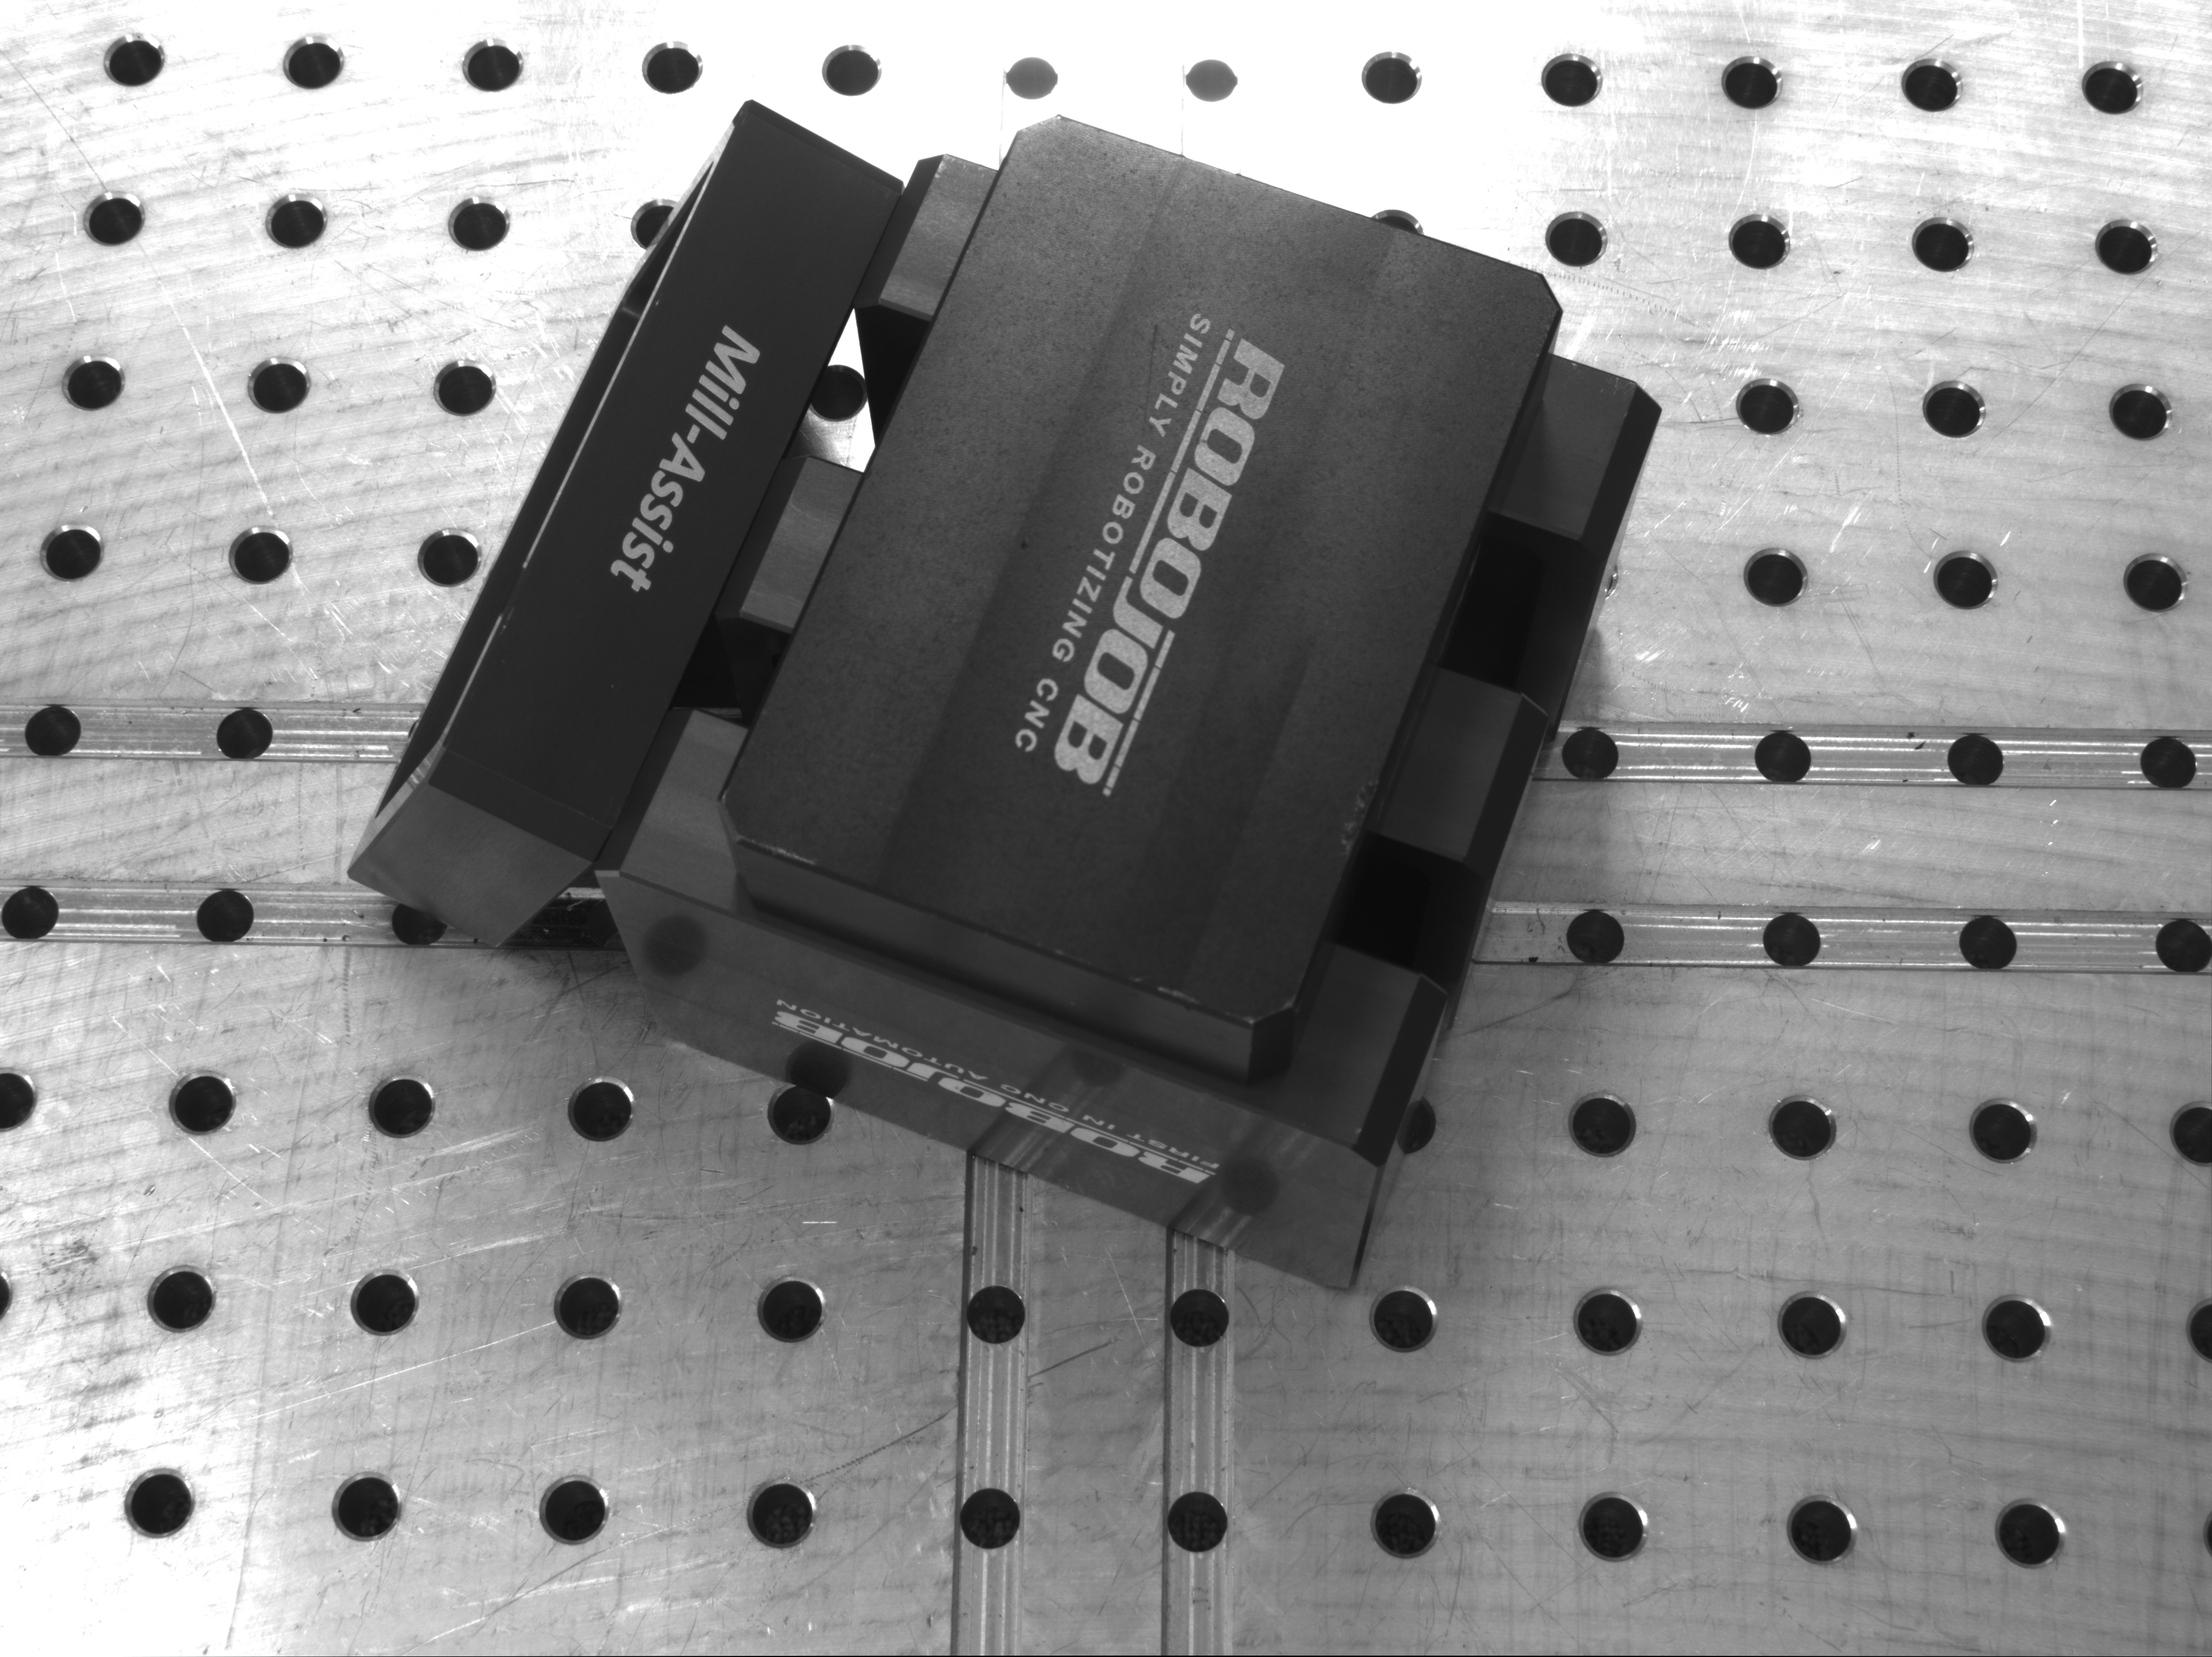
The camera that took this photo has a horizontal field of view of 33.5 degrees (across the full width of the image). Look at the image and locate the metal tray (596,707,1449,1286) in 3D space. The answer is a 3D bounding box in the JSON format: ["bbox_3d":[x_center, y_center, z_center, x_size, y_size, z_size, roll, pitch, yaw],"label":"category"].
[{"bbox_3d":[-0.013,0.030,0.602,0.130,0.090,0.030,20,71,7],"label":"metal tray"}]

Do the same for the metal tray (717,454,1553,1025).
[{"bbox_3d":[0.004,-0.011,0.616,0.130,0.090,0.030,19,70,6],"label":"metal tray"}]

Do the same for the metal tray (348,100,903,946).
[{"bbox_3d":[-0.083,-0.050,0.629,0.030,0.090,0.130,27,70,-13],"label":"metal tray"}]

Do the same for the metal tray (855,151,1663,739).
[{"bbox_3d":[0.025,-0.064,0.636,0.130,0.090,0.030,20,72,8],"label":"metal tray"}]

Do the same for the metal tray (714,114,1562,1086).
[{"bbox_3d":[0.006,-0.037,0.562,0.090,0.030,0.130,20,71,7],"label":"metal tray"}]
